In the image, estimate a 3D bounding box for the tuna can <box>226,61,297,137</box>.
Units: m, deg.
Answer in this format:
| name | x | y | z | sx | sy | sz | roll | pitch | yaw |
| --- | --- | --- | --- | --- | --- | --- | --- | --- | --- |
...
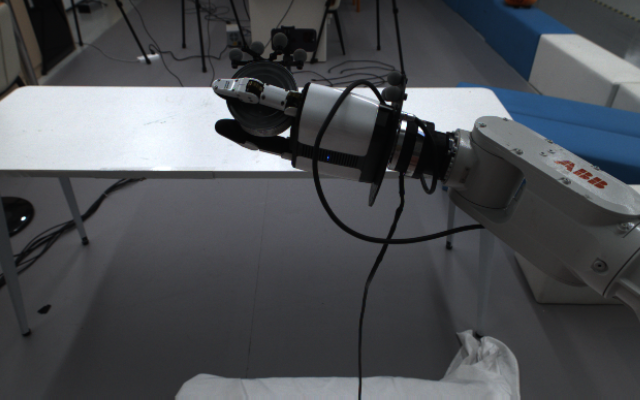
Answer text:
| name | x | y | z | sx | sy | sz | roll | pitch | yaw |
| --- | --- | --- | --- | --- | --- | --- | --- | --- | --- |
| tuna can | -0.067 | -0.120 | 0.582 | 0.085 | 0.034 | 0.085 | -1 | 77 | 4 |
